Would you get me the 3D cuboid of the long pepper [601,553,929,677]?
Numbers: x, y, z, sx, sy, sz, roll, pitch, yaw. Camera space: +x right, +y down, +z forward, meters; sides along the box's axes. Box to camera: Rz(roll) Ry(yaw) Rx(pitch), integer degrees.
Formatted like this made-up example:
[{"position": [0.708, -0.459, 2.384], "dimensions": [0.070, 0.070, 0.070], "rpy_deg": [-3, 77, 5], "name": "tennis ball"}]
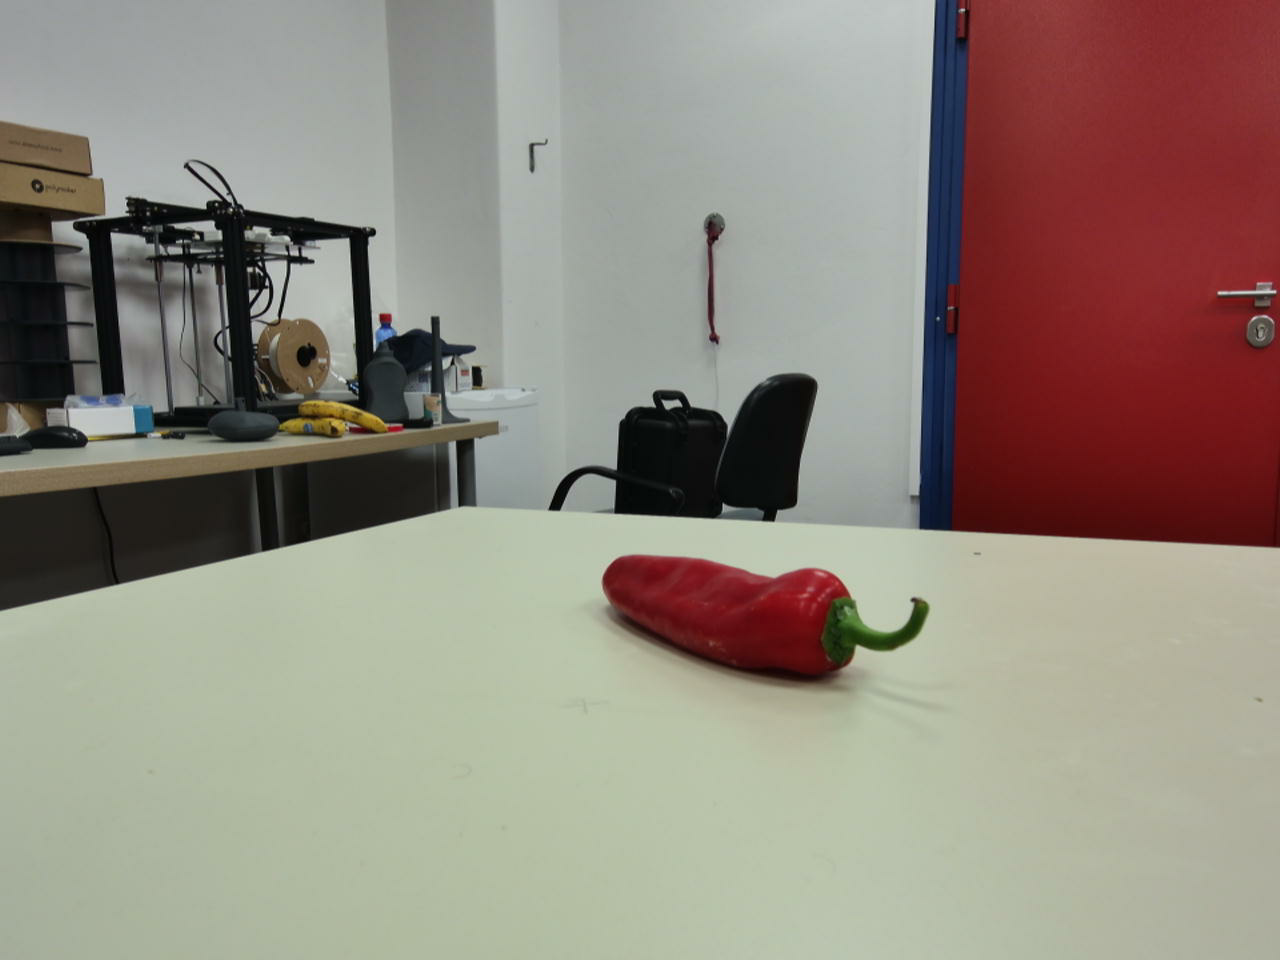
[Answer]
[{"position": [0.037, 0.054, 0.446], "dimensions": [0.050, 0.043, 0.211], "rpy_deg": [-2, 4, -33], "name": "long pepper"}]
